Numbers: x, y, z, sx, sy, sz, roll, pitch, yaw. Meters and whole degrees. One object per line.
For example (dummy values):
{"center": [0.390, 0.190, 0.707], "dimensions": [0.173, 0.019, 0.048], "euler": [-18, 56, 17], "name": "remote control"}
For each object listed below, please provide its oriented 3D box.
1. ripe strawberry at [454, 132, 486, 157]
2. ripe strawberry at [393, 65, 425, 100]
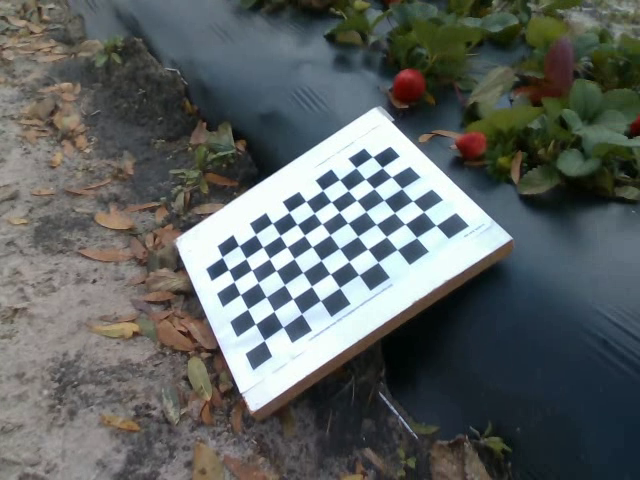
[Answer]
{"center": [0.170, -0.109, 0.707], "dimensions": [0.042, 0.041, 0.037], "euler": [7, -48, -27], "name": "ripe strawberry"}
{"center": [0.112, -0.206, 0.813], "dimensions": [0.046, 0.043, 0.065], "euler": [-33, -4, 6], "name": "ripe strawberry"}
